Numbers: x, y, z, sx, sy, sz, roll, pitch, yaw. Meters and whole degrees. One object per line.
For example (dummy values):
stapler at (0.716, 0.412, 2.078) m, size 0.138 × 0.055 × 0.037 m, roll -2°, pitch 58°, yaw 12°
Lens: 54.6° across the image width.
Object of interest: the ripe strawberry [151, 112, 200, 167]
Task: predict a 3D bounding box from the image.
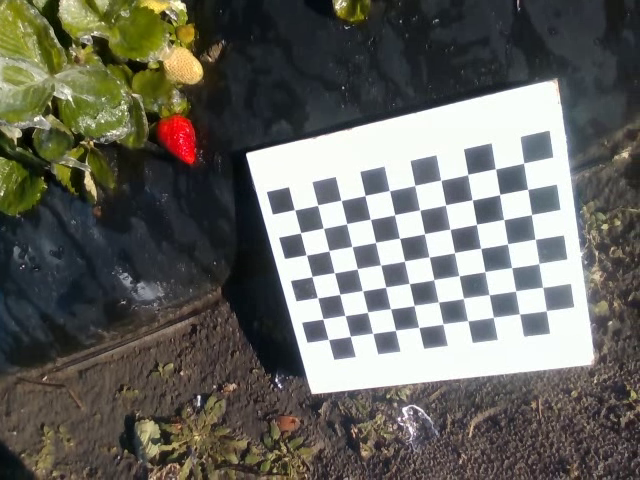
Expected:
ripe strawberry at (-0.143, -0.097, 0.609) m, size 0.041 × 0.052 × 0.040 m, roll -29°, pitch 2°, yaw 18°
